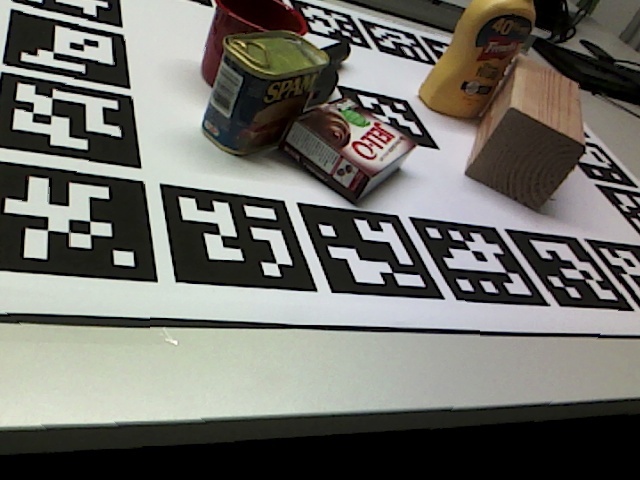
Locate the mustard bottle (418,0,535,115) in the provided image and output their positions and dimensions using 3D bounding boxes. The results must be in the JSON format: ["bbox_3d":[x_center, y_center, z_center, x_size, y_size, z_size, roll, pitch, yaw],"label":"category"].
[{"bbox_3d":[0.202,-0.245,0.746,0.095,0.191,0.059,1,46,-30],"label":"mustard bottle"}]

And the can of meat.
[{"bbox_3d":[-0.050,-0.128,0.542,0.058,0.084,0.101,44,40,19],"label":"can of meat"}]

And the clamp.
[{"bbox_3d":[-0.018,-0.202,0.700,0.121,0.036,0.165,19,40,-13],"label":"clamp"}]

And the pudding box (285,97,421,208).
[{"bbox_3d":[0.033,-0.086,0.588,0.090,0.038,0.113,38,37,12],"label":"pudding box"}]

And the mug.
[{"bbox_3d":[-0.079,-0.184,0.635,0.093,0.081,0.117,20,40,-10],"label":"mug"}]

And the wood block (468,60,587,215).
[{"bbox_3d":[0.245,-0.129,0.730,0.090,0.091,0.206,28,35,3],"label":"wood block"}]
